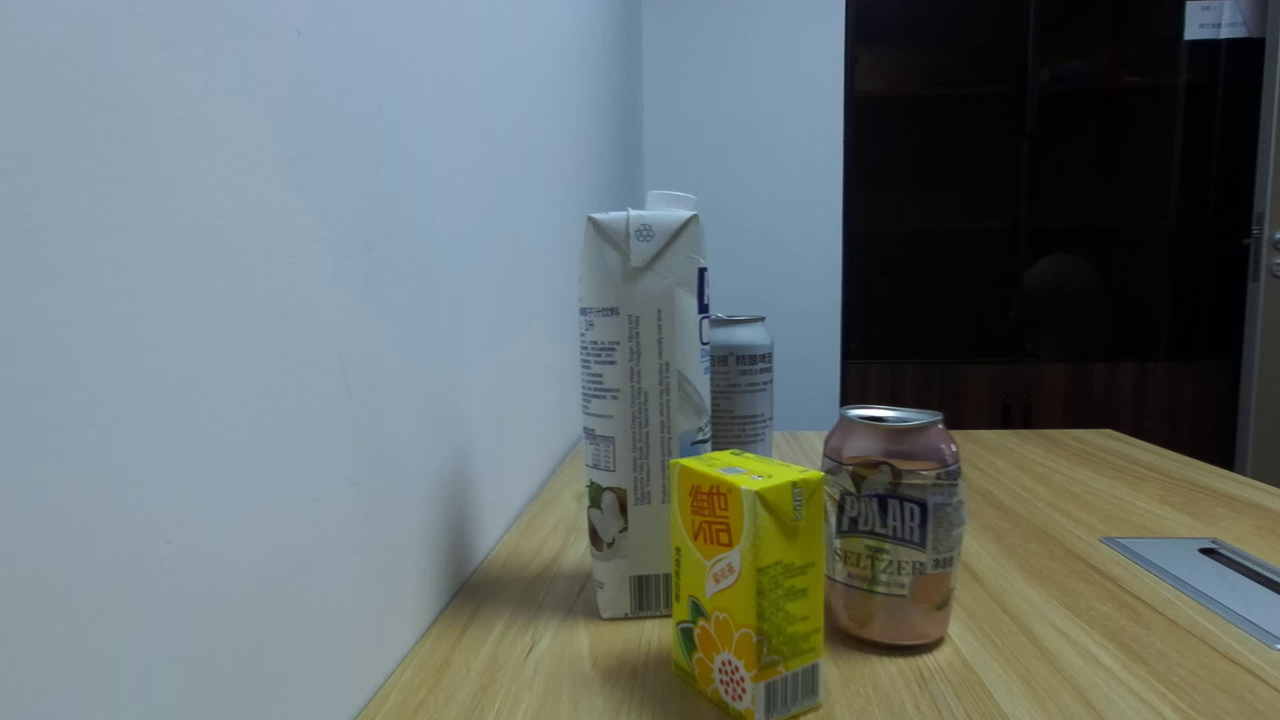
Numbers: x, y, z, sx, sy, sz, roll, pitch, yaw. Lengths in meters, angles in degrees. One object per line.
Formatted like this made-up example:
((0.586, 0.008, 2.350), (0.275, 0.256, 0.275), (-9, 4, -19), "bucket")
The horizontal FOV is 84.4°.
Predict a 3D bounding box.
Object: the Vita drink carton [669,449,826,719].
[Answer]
((0.048, 0.103, 0.332), (0.044, 0.109, 0.066), (-5, 7, -31), "Vita drink carton")

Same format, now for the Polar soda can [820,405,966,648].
((0.133, 0.088, 0.386), (0.067, 0.121, 0.074), (-2, 7, -21), "Polar soda can")

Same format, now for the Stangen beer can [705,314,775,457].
((0.065, 0.053, 0.518), (0.067, 0.171, 0.067), (-1, 5, 0), "Stangen beer can")
